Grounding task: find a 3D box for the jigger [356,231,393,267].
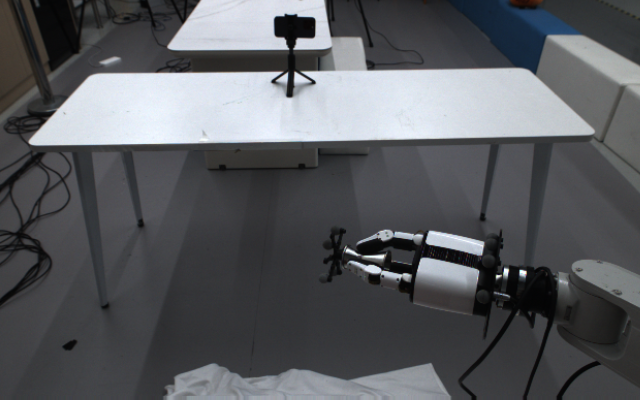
[{"bbox_3d":[0.077,0.090,0.746,0.071,0.043,0.043,8,34,23],"label":"jigger"}]
